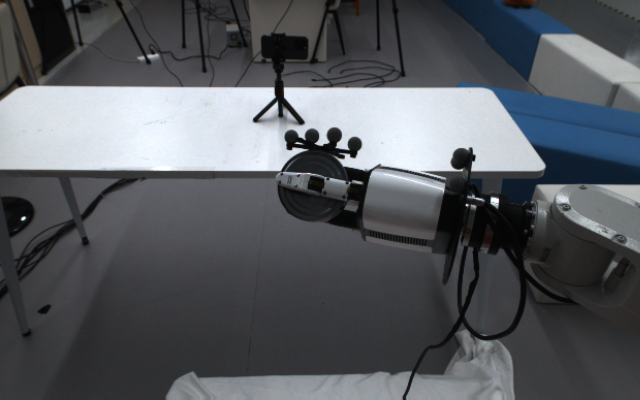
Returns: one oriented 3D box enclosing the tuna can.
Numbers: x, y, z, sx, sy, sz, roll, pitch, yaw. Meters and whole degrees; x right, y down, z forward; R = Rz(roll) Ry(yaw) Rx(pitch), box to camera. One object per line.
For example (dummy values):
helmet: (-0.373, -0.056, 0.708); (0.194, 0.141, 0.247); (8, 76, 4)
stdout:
tuna can: (-0.006, -0.018, 0.585); (0.085, 0.085, 0.034); (11, -7, 13)
